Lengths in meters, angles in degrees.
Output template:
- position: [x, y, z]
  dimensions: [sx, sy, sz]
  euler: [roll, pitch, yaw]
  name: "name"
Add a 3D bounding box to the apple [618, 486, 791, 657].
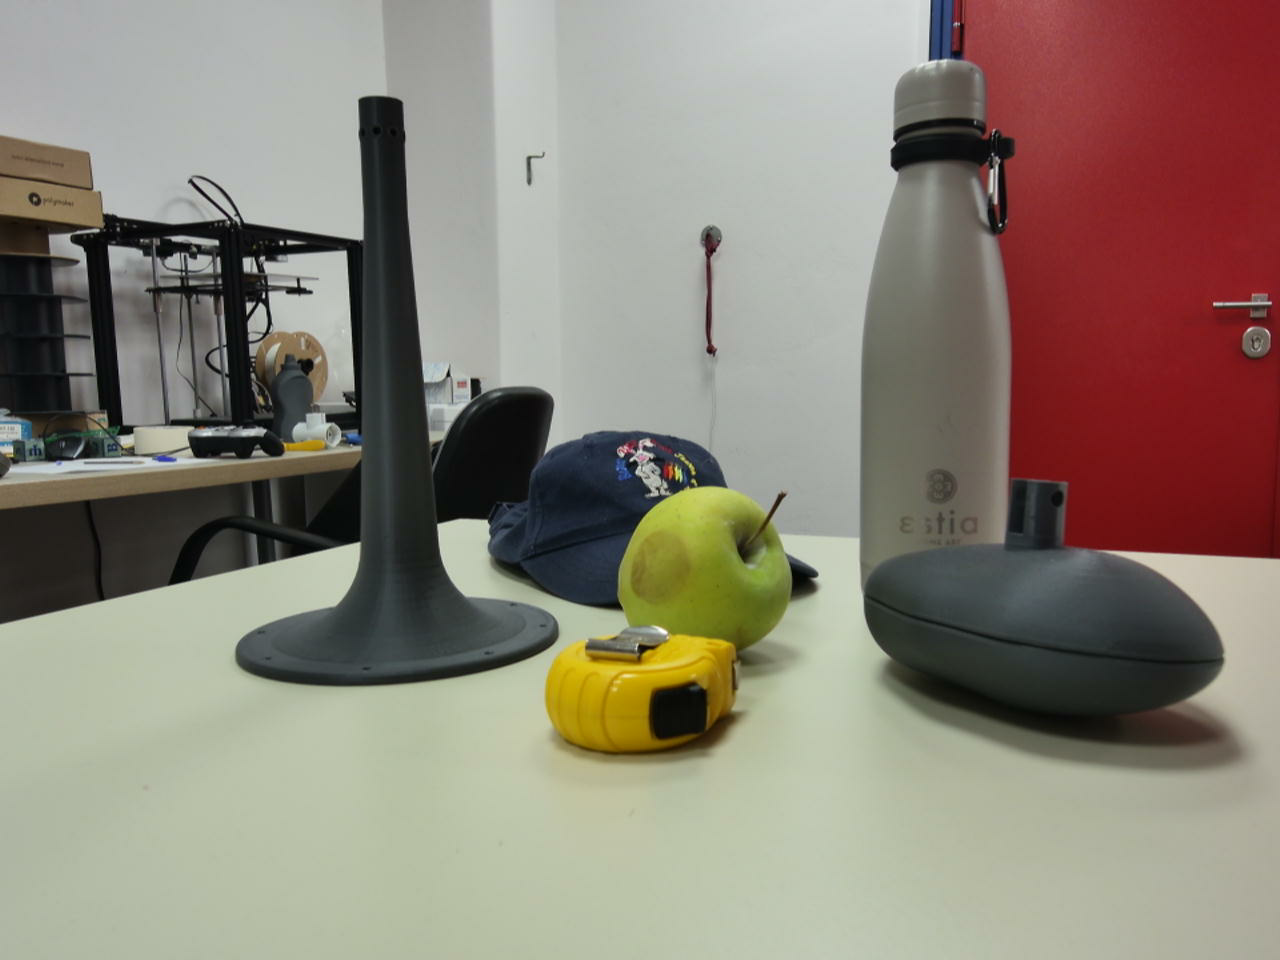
- position: [0.030, 0.040, 0.451]
  dimensions: [0.072, 0.075, 0.077]
  euler: [-2, 4, -21]
  name: "apple"
